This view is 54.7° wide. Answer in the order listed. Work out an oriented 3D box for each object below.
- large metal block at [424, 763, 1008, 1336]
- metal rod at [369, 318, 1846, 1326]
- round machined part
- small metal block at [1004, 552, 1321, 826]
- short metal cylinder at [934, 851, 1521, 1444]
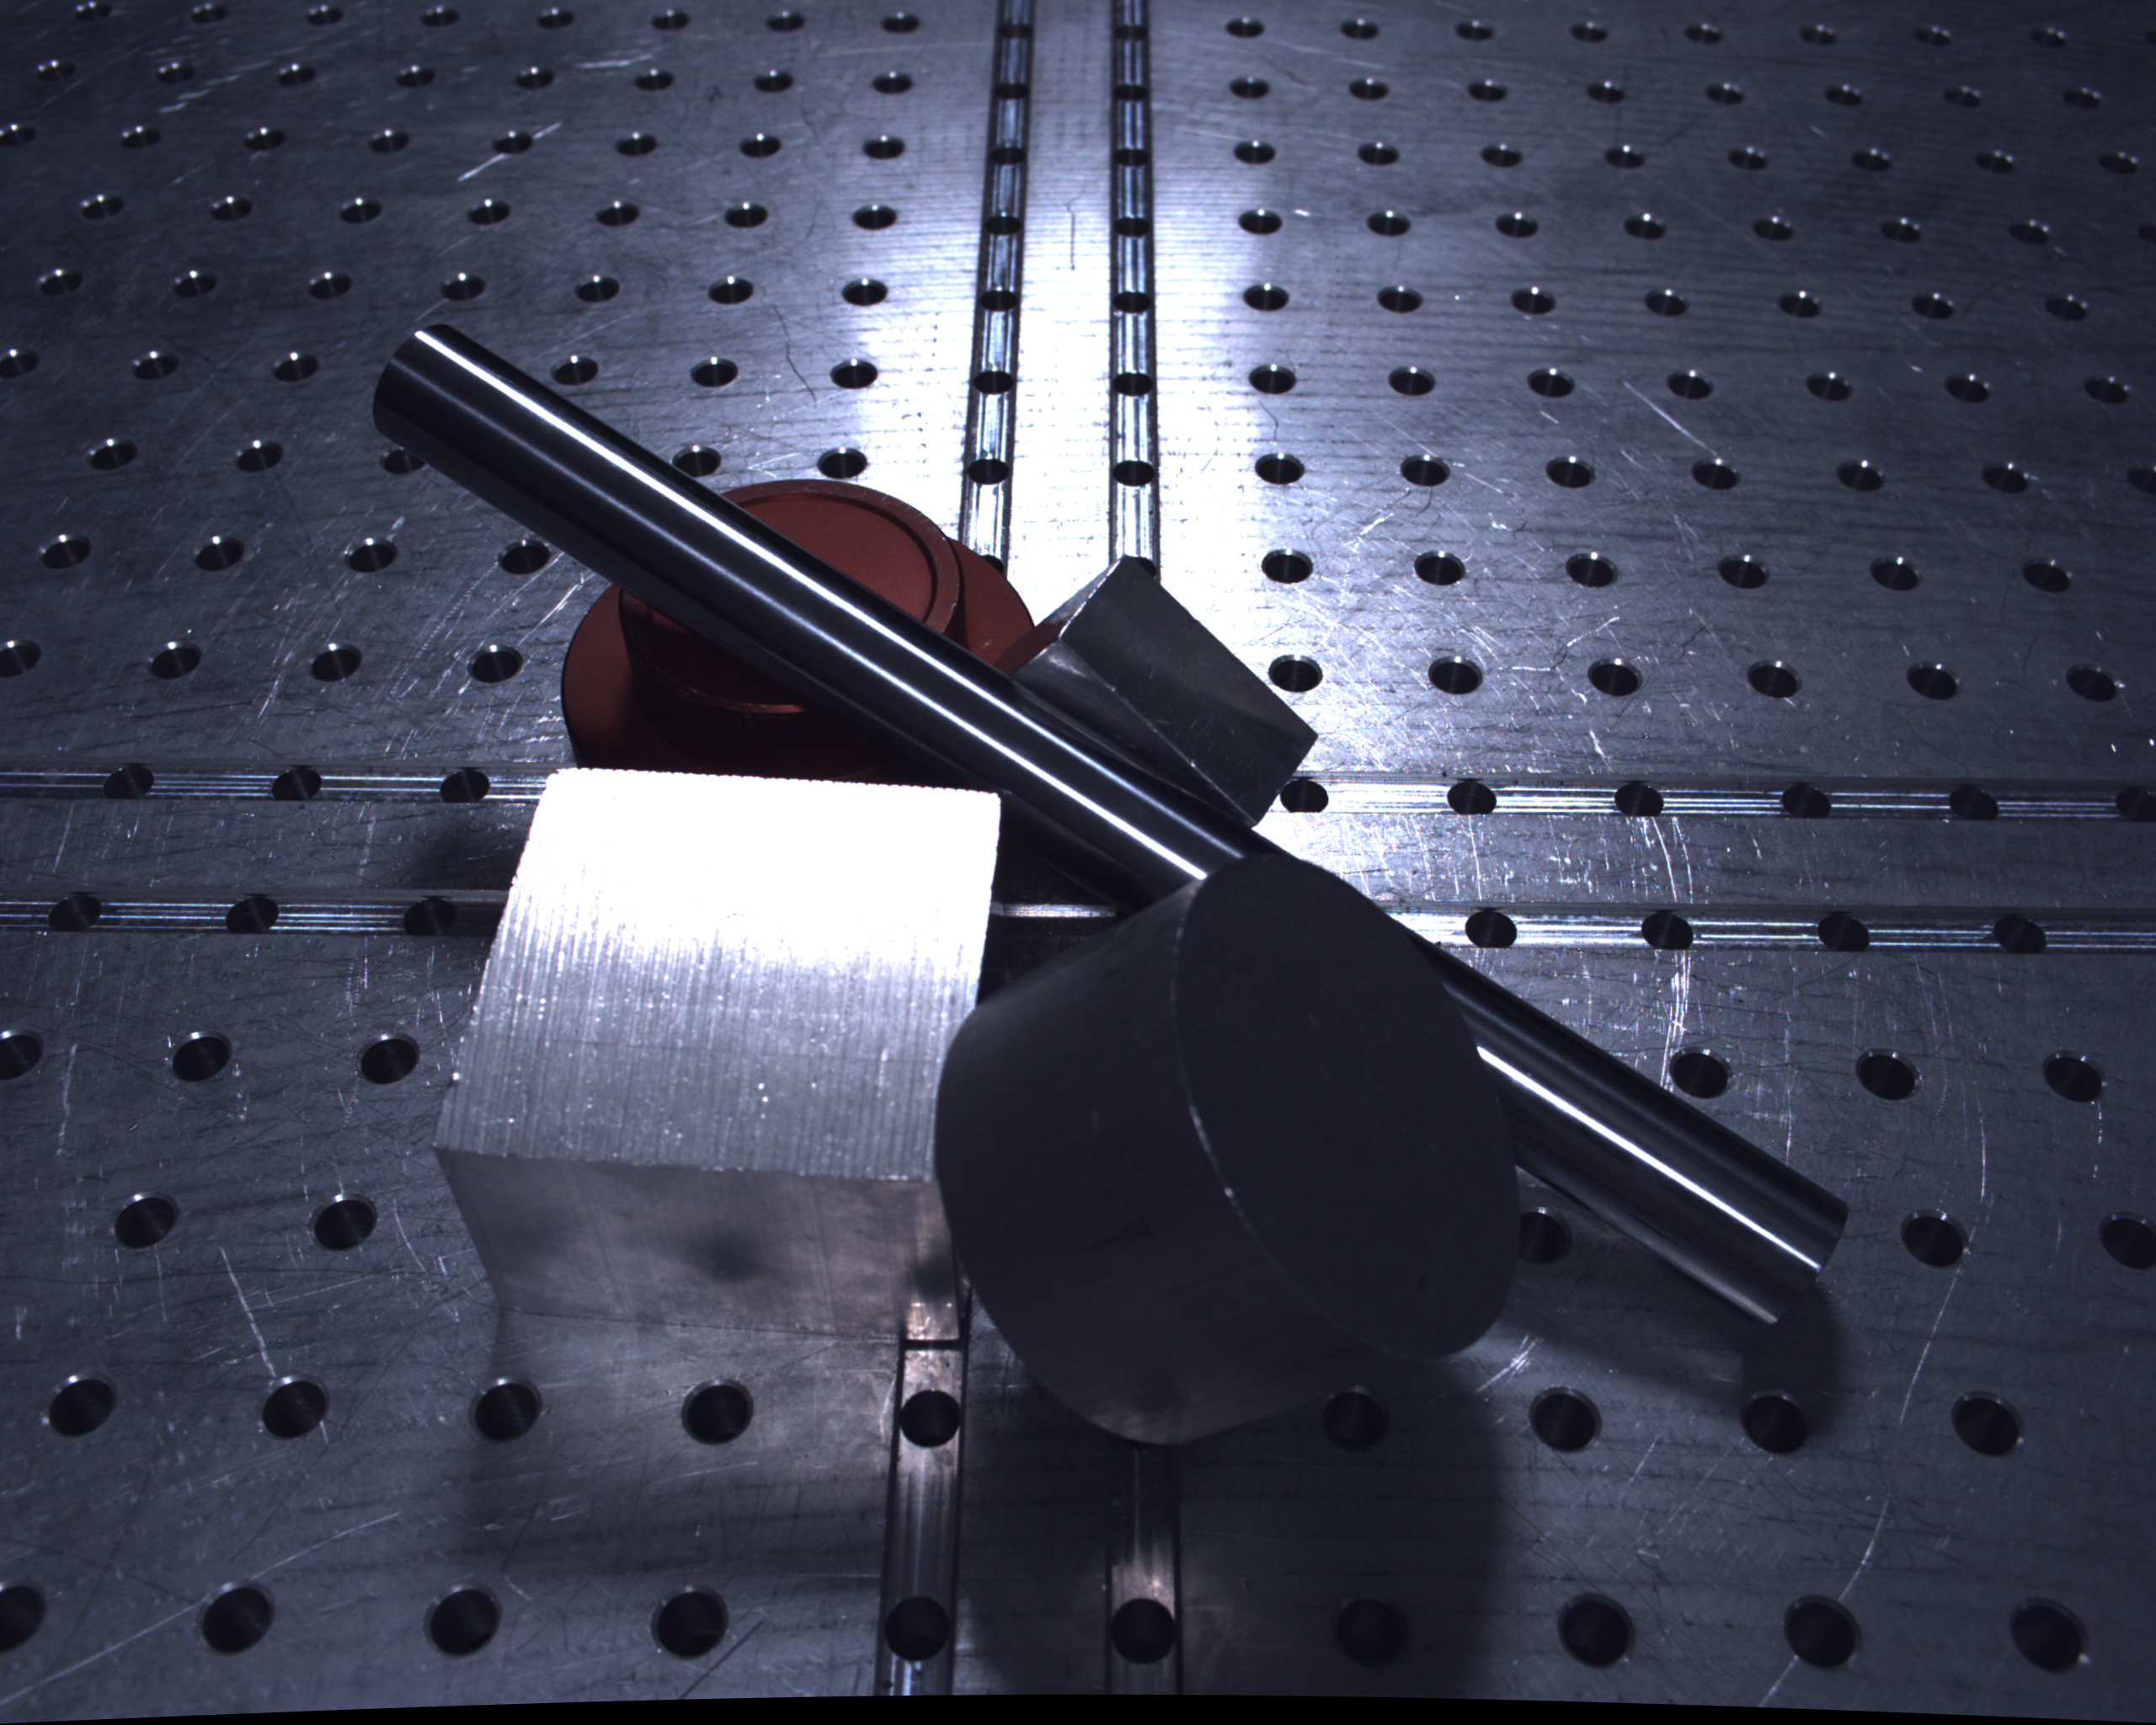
[{"bbox_3d":[-0.056,0.031,0.361,0.080,0.050,0.080,4,50,3],"label":"large metal block"},{"bbox_3d":[-0.002,-0.013,0.376,0.301,0.025,0.025,33,56,9],"label":"metal rod"},{"bbox_3d":[-0.057,-0.041,0.431,0.099,0.042,0.098,0,50,0],"label":"round machined part"},{"bbox_3d":[0.009,-0.025,0.400,0.050,0.050,0.025,42,58,-11],"label":"small metal block"},{"bbox_3d":[0.024,0.045,0.326,0.080,0.050,0.080,30,45,-35],"label":"short metal cylinder"}]
